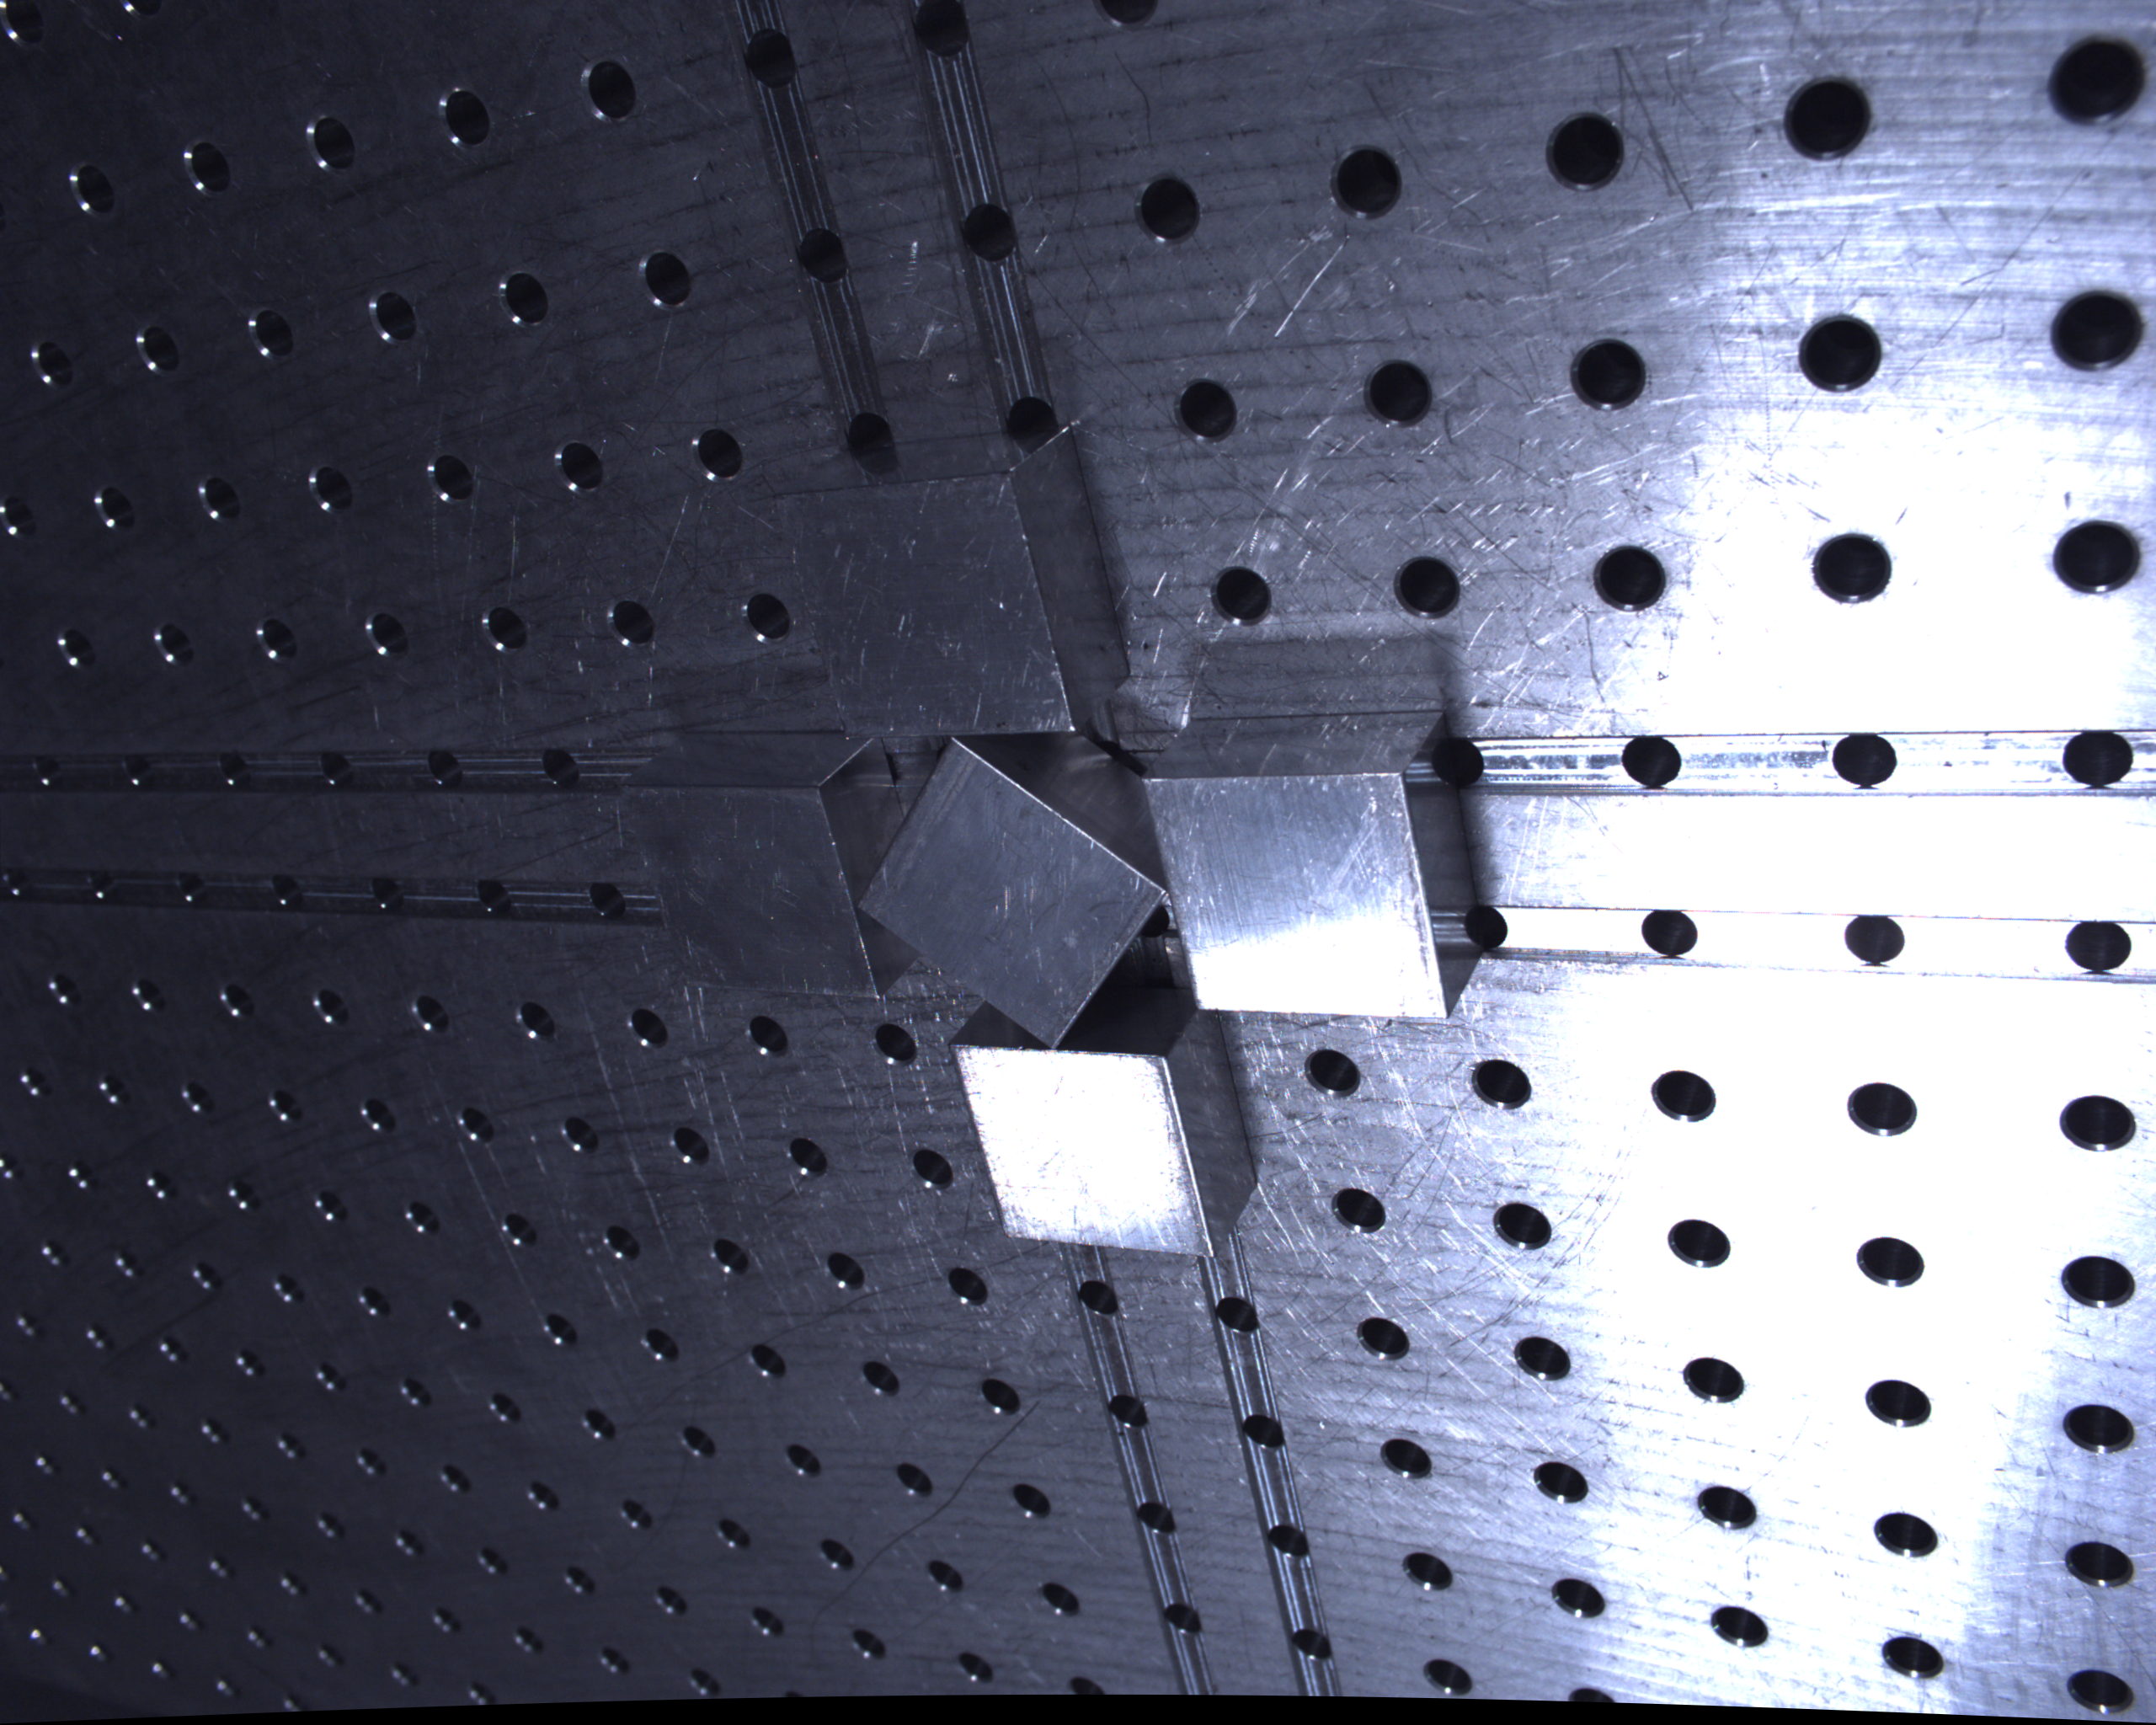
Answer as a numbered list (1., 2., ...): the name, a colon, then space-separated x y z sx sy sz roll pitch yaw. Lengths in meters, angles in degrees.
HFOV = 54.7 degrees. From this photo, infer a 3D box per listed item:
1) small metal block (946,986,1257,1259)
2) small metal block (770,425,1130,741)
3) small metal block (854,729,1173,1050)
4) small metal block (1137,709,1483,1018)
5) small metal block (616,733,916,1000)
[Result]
1. small metal block: 0.006 0.054 0.440 0.050 0.025 0.050 0 119 27
2. small metal block: -0.023 -0.051 0.390 0.050 0.025 0.050 -1 118 28
3. small metal block: -0.009 0.001 0.415 0.050 0.025 0.050 36 129 3
4. small metal block: 0.044 0.000 0.387 0.050 0.025 0.050 0 119 28
5. small metal block: -0.063 0.000 0.443 0.050 0.025 0.050 1 119 27
